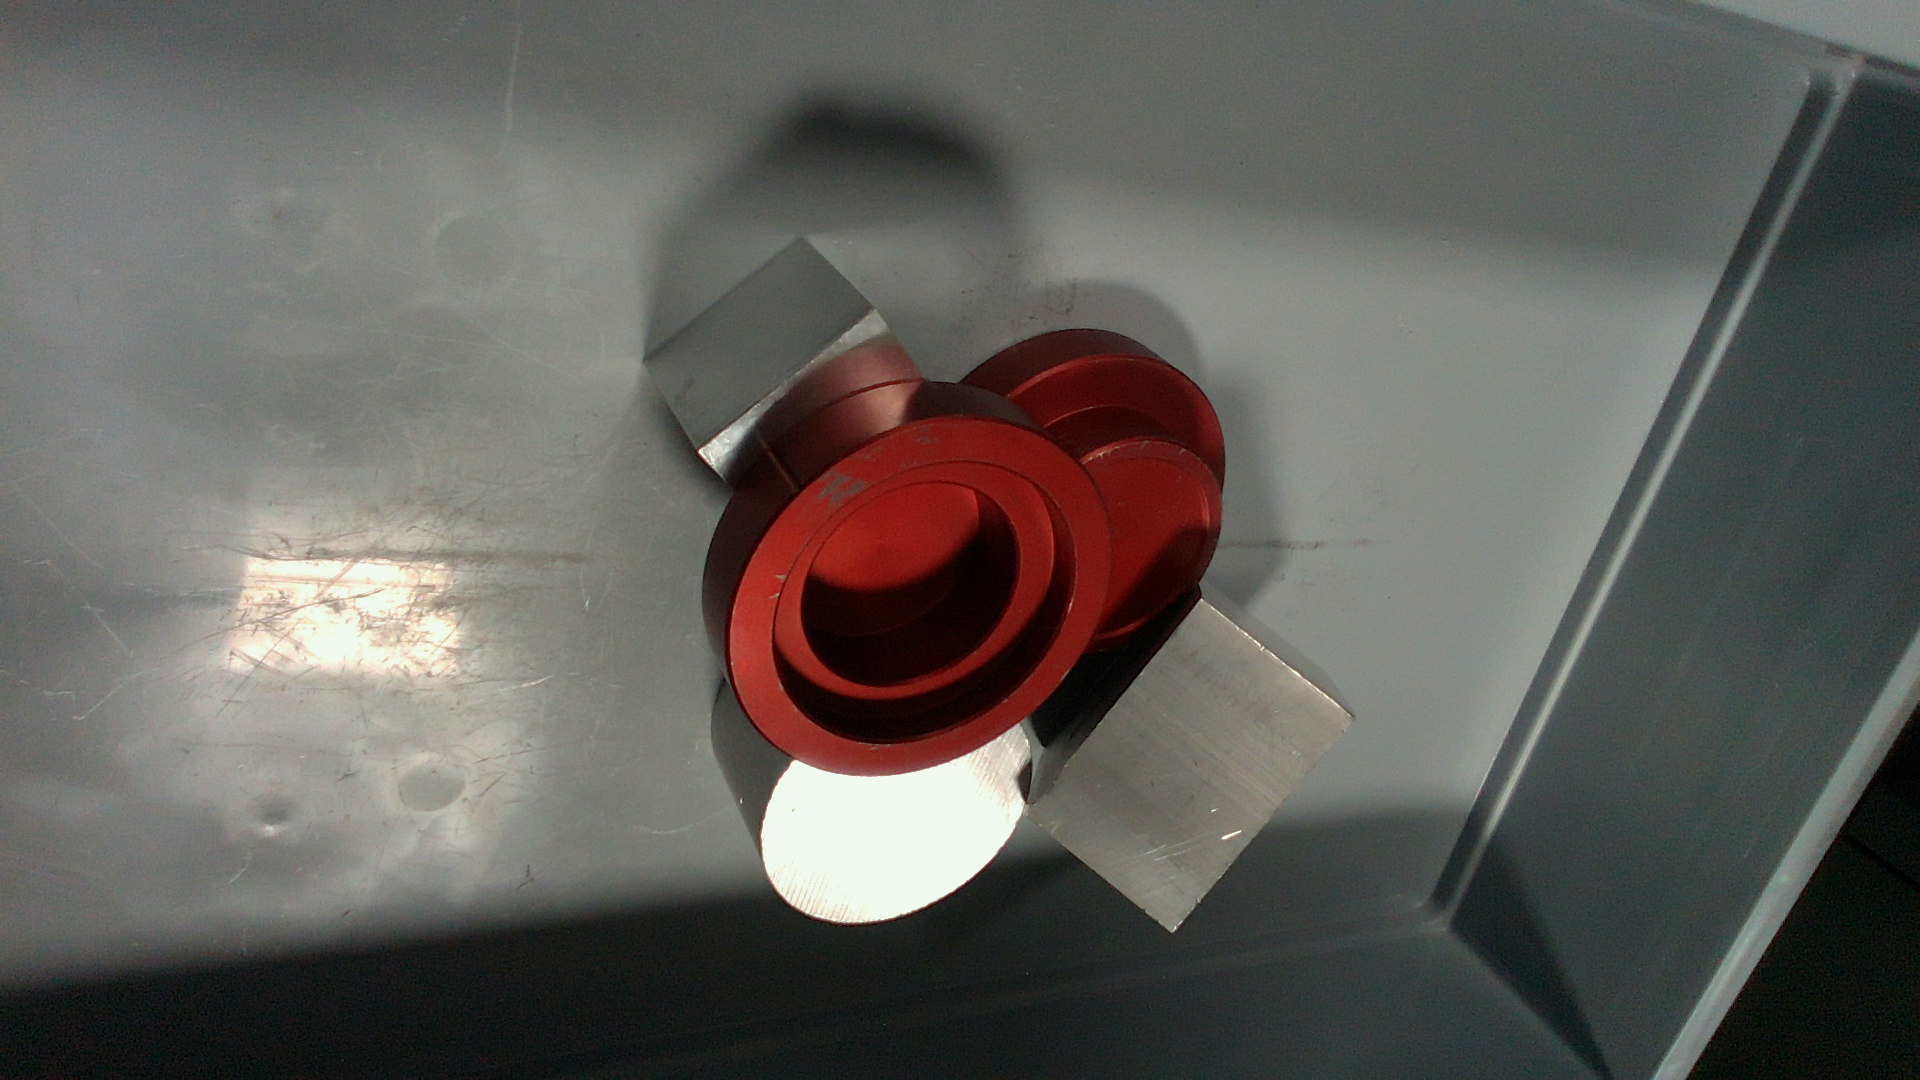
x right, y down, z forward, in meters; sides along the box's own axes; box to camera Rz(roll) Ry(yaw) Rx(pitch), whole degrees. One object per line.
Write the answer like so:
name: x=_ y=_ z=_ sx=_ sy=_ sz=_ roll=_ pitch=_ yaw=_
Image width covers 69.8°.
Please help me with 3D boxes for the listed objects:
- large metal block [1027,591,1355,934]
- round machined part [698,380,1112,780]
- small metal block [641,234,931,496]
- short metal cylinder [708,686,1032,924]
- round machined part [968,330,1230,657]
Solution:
large metal block: x=0.067 y=0.059 z=0.416 sx=0.050 sy=0.080 sz=0.080 roll=38 pitch=98 yaw=3
round machined part: x=-0.016 y=0.006 z=0.334 sx=0.098 sy=0.042 sz=0.098 roll=-14 pitch=124 yaw=-21
small metal block: x=-0.042 y=-0.039 z=0.324 sx=0.050 sy=0.050 sz=0.025 roll=-39 pitch=129 yaw=-1
short metal cylinder: x=-0.026 y=0.062 z=0.395 sx=0.080 sy=0.050 sz=0.080 roll=-14 pitch=124 yaw=-21
round machined part: x=0.036 y=-0.006 z=0.390 sx=0.098 sy=0.042 sz=0.098 roll=-14 pitch=124 yaw=-21
